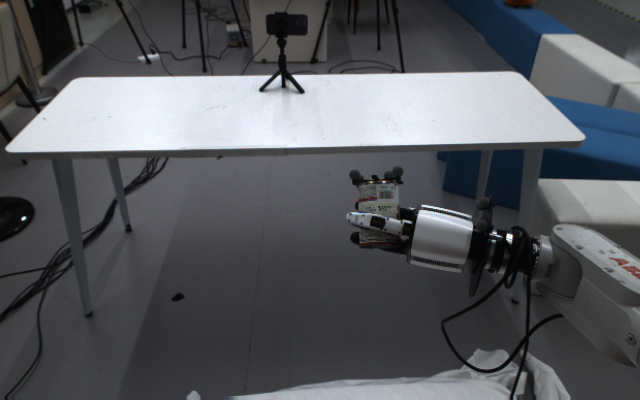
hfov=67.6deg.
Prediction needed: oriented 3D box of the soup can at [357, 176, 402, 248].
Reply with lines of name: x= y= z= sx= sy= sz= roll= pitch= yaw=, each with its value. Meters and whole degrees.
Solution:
soup can: x=0.095 y=0.025 z=0.771 sx=0.067 sy=0.101 sz=0.067 roll=-1 pitch=-9 yaw=0
